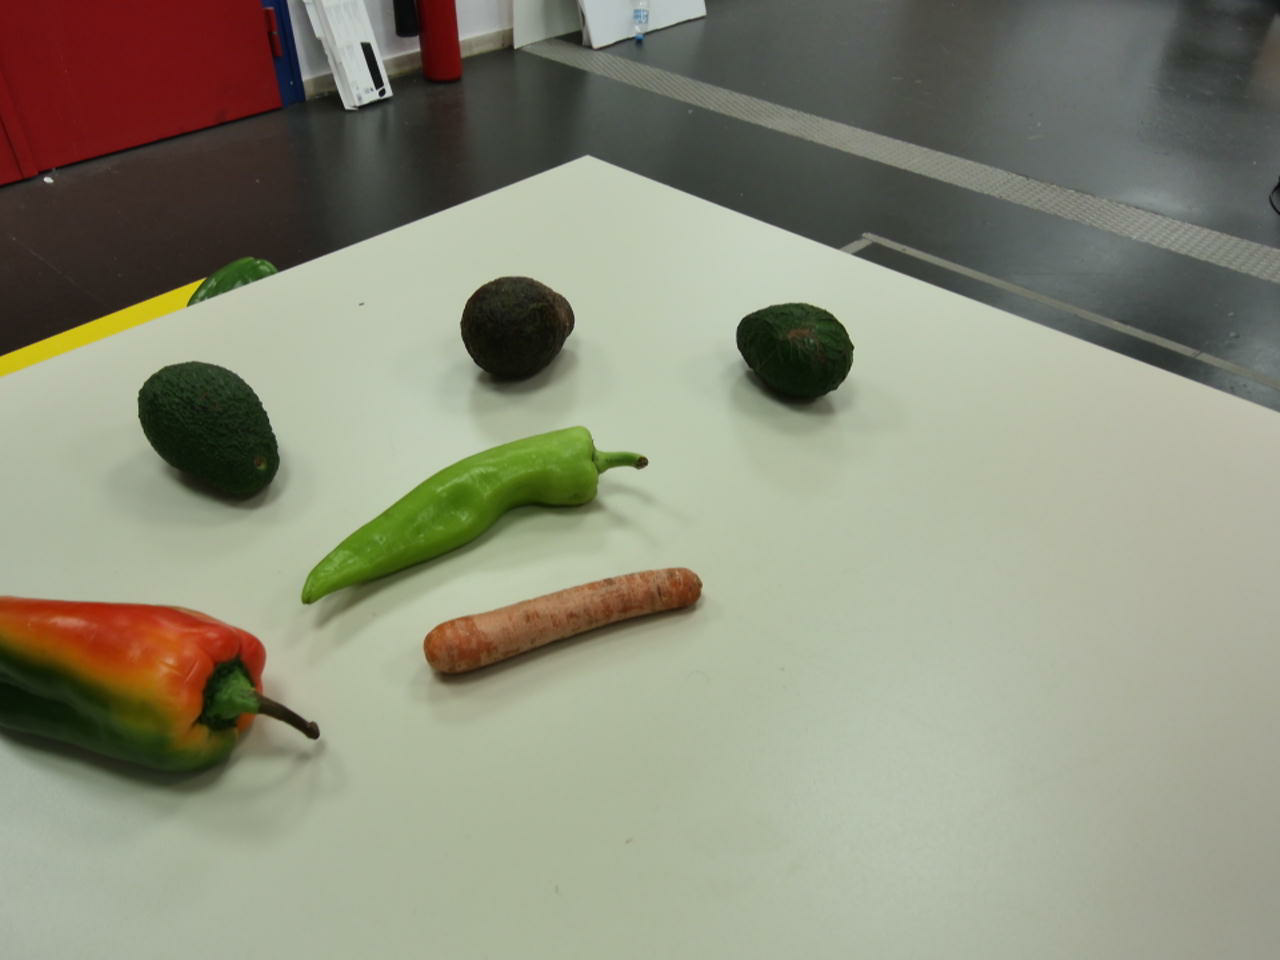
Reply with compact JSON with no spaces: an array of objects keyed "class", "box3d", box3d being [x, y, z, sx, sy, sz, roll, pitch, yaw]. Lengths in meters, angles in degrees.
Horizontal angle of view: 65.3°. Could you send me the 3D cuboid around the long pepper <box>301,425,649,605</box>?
[{"class":"long pepper","box3d":[-0.097,0.013,0.562,0.204,0.045,0.065,-20,43,-26]}]
